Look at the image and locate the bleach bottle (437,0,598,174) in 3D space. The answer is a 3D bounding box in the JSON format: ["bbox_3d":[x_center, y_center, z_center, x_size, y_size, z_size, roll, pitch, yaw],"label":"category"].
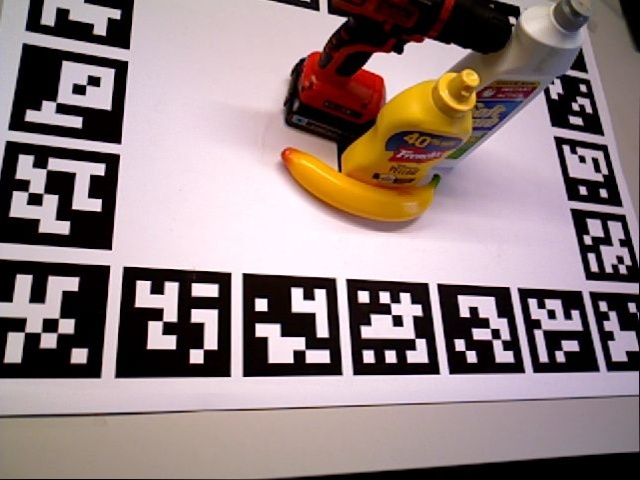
[{"bbox_3d":[0.177,-0.163,0.562,0.101,0.256,0.067,7,63,-19],"label":"bleach bottle"}]

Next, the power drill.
[{"bbox_3d":[0.072,-0.182,0.533,0.183,0.191,0.056,17,64,-16],"label":"power drill"}]

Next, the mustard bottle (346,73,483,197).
[{"bbox_3d":[0.106,-0.105,0.543,0.095,0.195,0.058,5,69,-20],"label":"mustard bottle"}]

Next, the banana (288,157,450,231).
[{"bbox_3d":[0.058,-0.050,0.604,0.195,0.039,0.073,9,70,-15],"label":"banana"}]
